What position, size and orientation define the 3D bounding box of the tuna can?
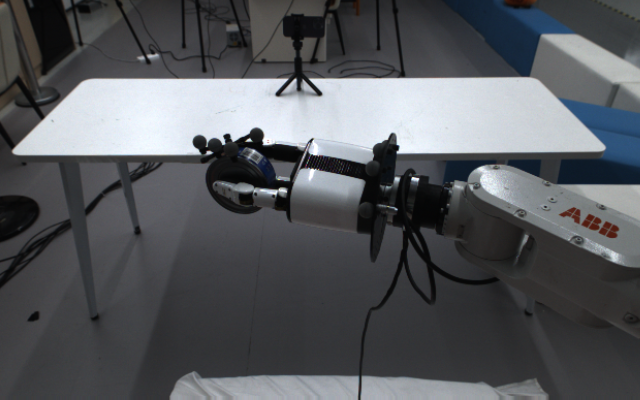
[{"bbox_3d":[-0.097,-0.026,0.625,0.085,0.085,0.034,10,33,11],"label":"tuna can"}]
